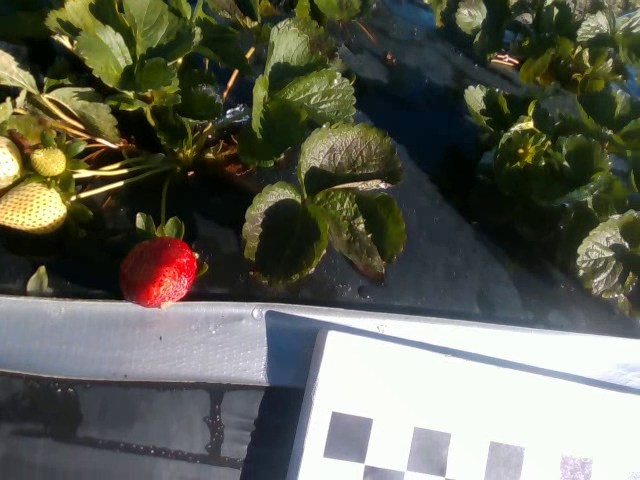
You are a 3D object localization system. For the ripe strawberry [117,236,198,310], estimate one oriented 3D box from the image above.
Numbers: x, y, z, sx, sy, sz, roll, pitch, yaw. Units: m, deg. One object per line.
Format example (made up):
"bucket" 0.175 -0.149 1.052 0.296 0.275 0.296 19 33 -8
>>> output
"ripe strawberry" -0.069 0.016 0.247 0.036 0.038 0.045 12 6 -10
